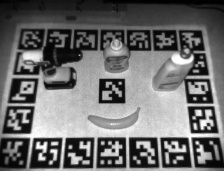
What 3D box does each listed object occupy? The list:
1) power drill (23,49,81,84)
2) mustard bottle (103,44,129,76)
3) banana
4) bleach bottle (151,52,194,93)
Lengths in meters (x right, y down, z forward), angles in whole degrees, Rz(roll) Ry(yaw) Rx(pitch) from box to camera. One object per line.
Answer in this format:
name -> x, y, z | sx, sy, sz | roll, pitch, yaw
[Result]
power drill -> -0.176, -0.063, 0.731 | 0.184, 0.188, 0.057 | -6, 71, 2
mustard bottle -> 0.014, -0.096, 0.778 | 0.096, 0.192, 0.058 | -7, 71, -4
banana -> 0.009, 0.127, 0.772 | 0.197, 0.039, 0.074 | -5, 73, 0
bleach bottle -> 0.204, -0.044, 0.730 | 0.102, 0.251, 0.068 | 8, 71, 3
